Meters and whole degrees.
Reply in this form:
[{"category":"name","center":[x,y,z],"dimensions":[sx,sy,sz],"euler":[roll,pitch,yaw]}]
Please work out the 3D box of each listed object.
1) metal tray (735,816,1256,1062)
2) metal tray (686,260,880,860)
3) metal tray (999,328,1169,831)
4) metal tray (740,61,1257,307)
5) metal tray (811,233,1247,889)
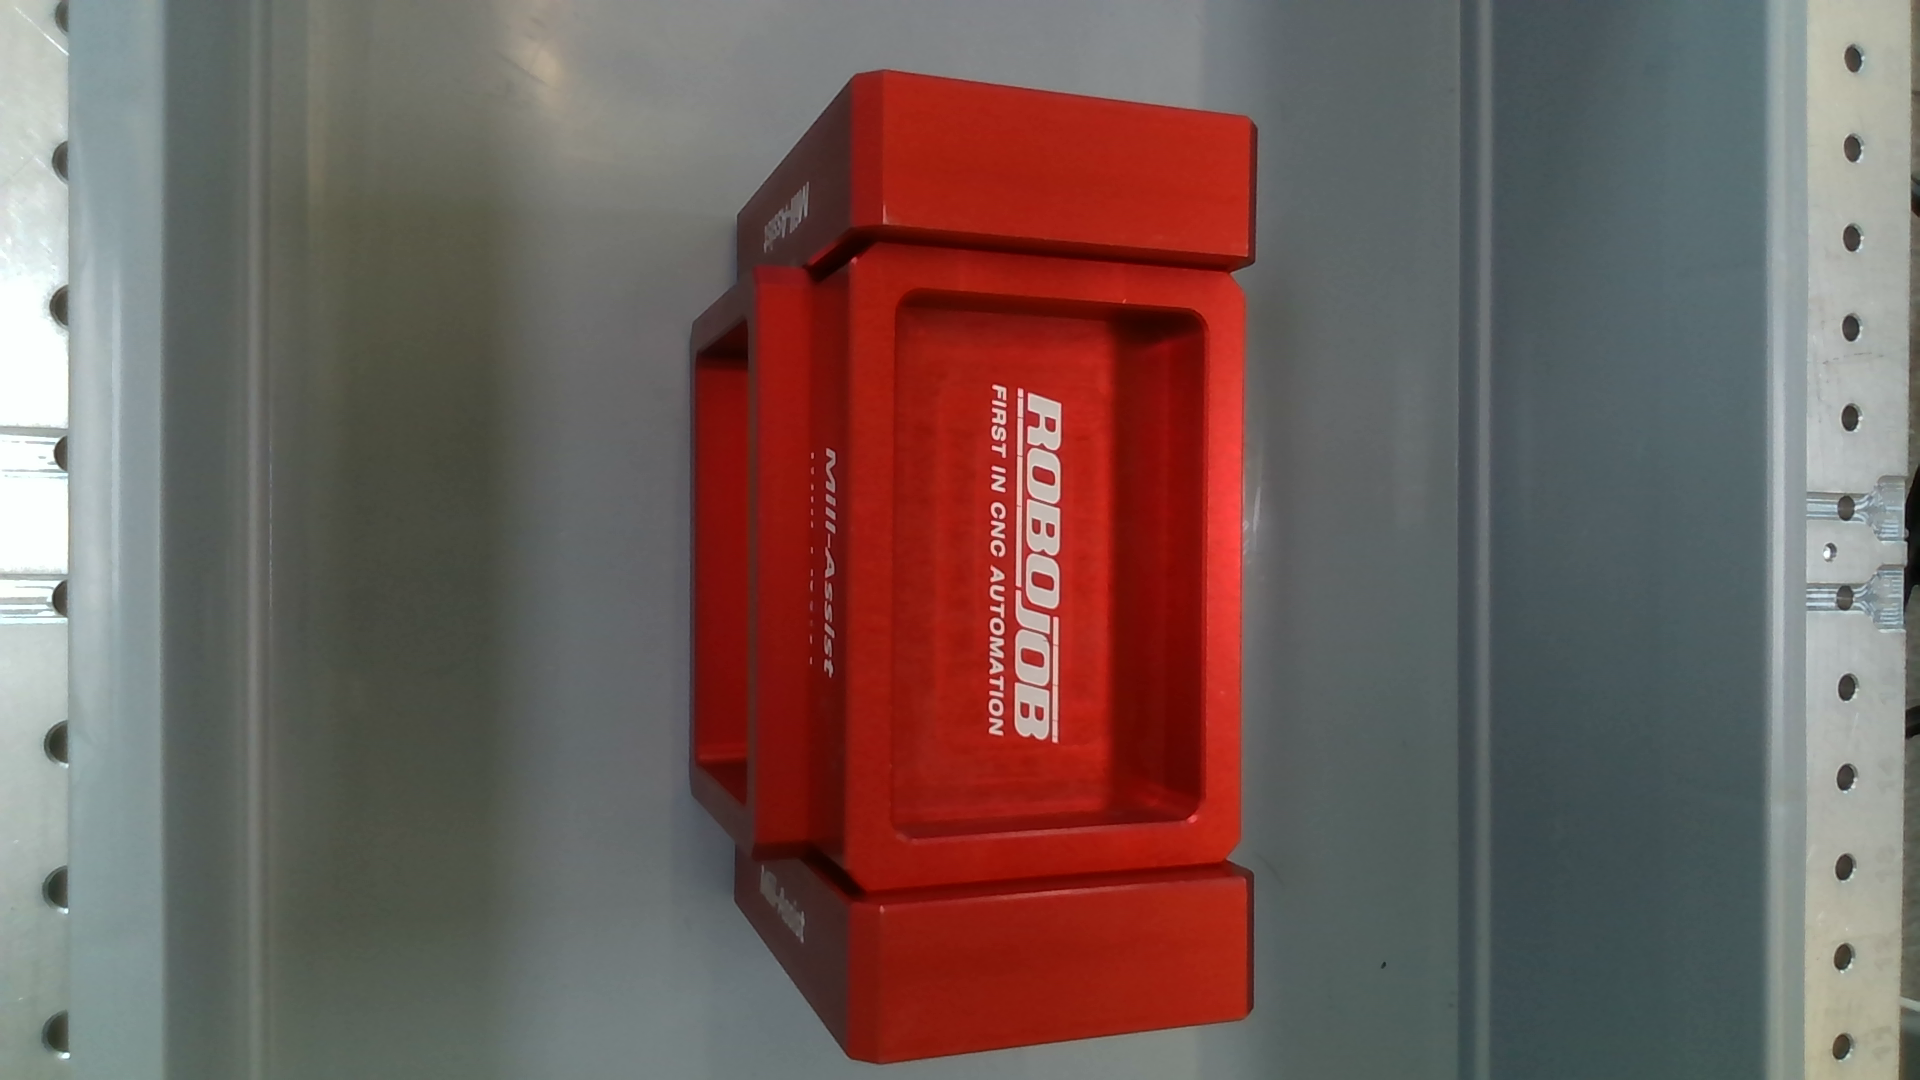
[{"category":"metal tray","center":[0.001,0.086,0.337],"dimensions":[0.090,0.130,0.030],"euler":[1,90,-20]},{"category":"metal tray","center":[-0.045,0.004,0.340],"dimensions":[0.030,0.090,0.130],"euler":[0,90,-21]},{"category":"metal tray","center":[0.039,0.005,0.371],"dimensions":[0.030,0.090,0.130],"euler":[0,90,-19]},{"category":"metal tray","center":[0.001,-0.076,0.337],"dimensions":[0.090,0.130,0.030],"euler":[1,90,-20]},{"category":"metal tray","center":[0.015,0.005,0.300],"dimensions":[0.090,0.030,0.130],"euler":[1,90,-21]}]
